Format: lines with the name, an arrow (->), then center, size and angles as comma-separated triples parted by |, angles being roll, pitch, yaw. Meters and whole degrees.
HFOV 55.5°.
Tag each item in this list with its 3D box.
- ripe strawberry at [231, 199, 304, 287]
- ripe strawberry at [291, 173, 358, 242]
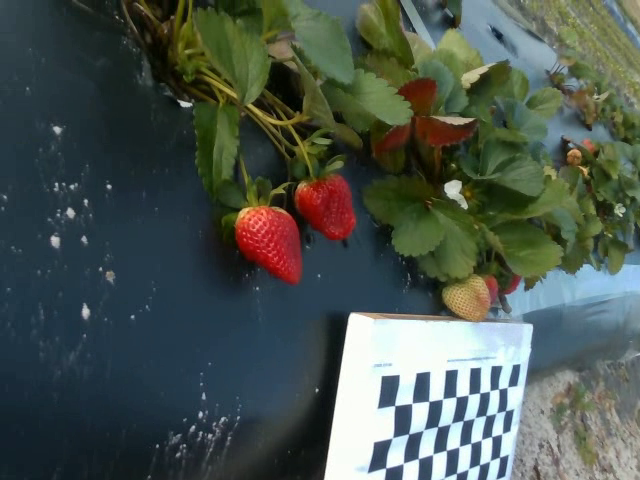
ripe strawberry -> -0.027, 0.003, 0.377 | 0.050, 0.061, 0.045 | -6, -27, -44
ripe strawberry -> 0.010, -0.025, 0.424 | 0.042, 0.053, 0.034 | -13, -18, -43
